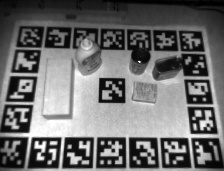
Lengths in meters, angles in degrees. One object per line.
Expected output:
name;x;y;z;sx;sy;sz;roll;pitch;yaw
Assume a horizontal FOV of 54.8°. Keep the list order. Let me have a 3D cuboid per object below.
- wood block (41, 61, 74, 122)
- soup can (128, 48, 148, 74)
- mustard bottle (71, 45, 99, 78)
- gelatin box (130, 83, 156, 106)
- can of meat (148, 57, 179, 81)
wood block;-0.196;0.022;0.784;0.091;0.090;0.205;2;69;-3
soup can;0.097;-0.089;0.814;0.068;0.102;0.068;0;74;0
mustard bottle;-0.097;-0.092;0.775;0.096;0.192;0.058;-25;74;-10
gelatin box;0.117;0.035;0.819;0.089;0.030;0.073;10;75;3
can of meat;0.194;-0.062;0.829;0.102;0.084;0.057;-13;74;-8
